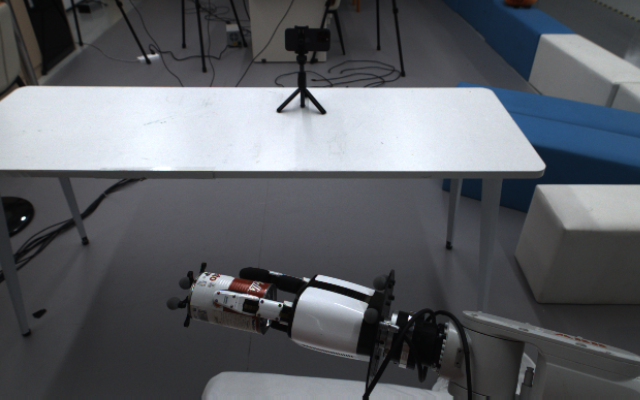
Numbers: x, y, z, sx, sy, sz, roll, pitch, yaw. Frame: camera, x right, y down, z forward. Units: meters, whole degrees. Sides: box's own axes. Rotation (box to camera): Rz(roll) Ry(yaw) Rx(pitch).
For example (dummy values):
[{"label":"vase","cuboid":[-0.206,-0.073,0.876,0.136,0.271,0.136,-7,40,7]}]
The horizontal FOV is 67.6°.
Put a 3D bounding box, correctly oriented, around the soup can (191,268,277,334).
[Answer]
[{"label":"soup can","cuboid":[-0.114,0.138,0.649,0.101,0.067,0.067,8,35,11]}]
